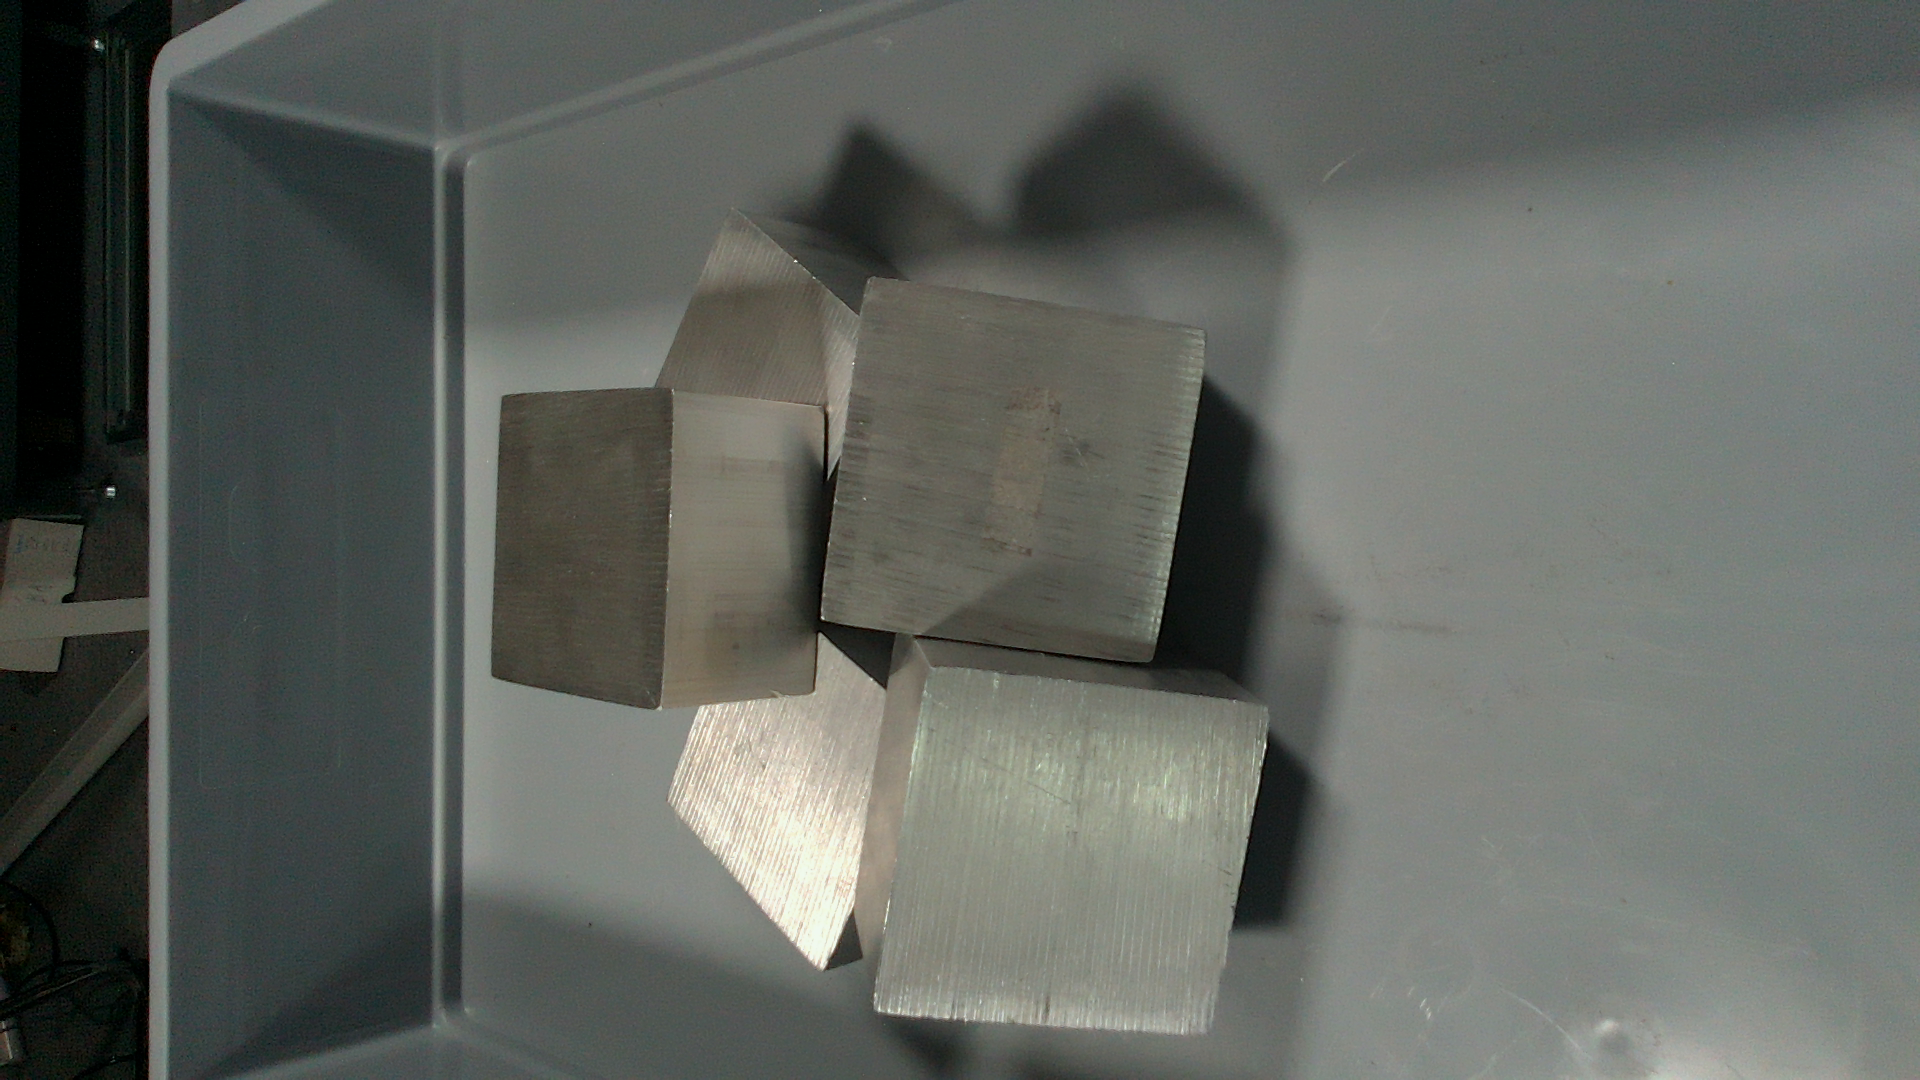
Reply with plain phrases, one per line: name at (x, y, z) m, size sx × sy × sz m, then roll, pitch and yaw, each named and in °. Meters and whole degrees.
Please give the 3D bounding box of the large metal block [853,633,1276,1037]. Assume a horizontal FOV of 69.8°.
large metal block at (0.022, 0.067, 0.330) m, size 0.050 × 0.080 × 0.080 m, roll -137°, pitch 56°, yaw -77°

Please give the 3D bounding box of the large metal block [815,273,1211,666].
large metal block at (0.010, -0.018, 0.340) m, size 0.080 × 0.050 × 0.080 m, roll 8°, pitch 97°, yaw -5°

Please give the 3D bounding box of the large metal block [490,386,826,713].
large metal block at (-0.085, 0.001, 0.381) m, size 0.080 × 0.050 × 0.080 m, roll 3°, pitch 91°, yaw 41°

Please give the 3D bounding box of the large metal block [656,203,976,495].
large metal block at (-0.043, -0.042, 0.414) m, size 0.080 × 0.050 × 0.080 m, roll 43°, pitch 116°, yaw 31°

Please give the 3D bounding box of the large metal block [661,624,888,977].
large metal block at (-0.033, 0.064, 0.401) m, size 0.080 × 0.050 × 0.080 m, roll 37°, pitch 113°, yaw 34°
